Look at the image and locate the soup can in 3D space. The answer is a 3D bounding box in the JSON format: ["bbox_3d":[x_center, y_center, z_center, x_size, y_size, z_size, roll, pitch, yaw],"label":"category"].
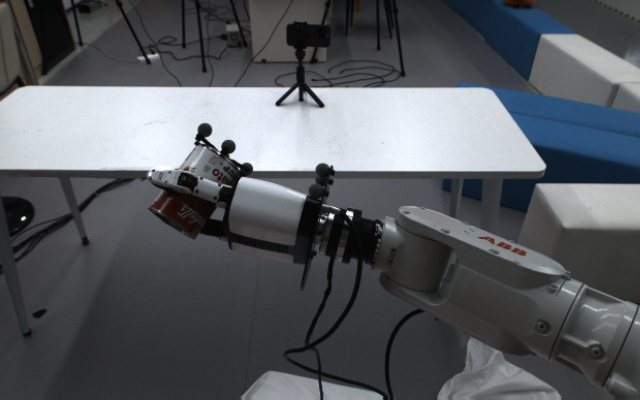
[{"bbox_3d":[-0.155,-0.010,0.603,0.067,0.067,0.101,24,72,28],"label":"soup can"}]
